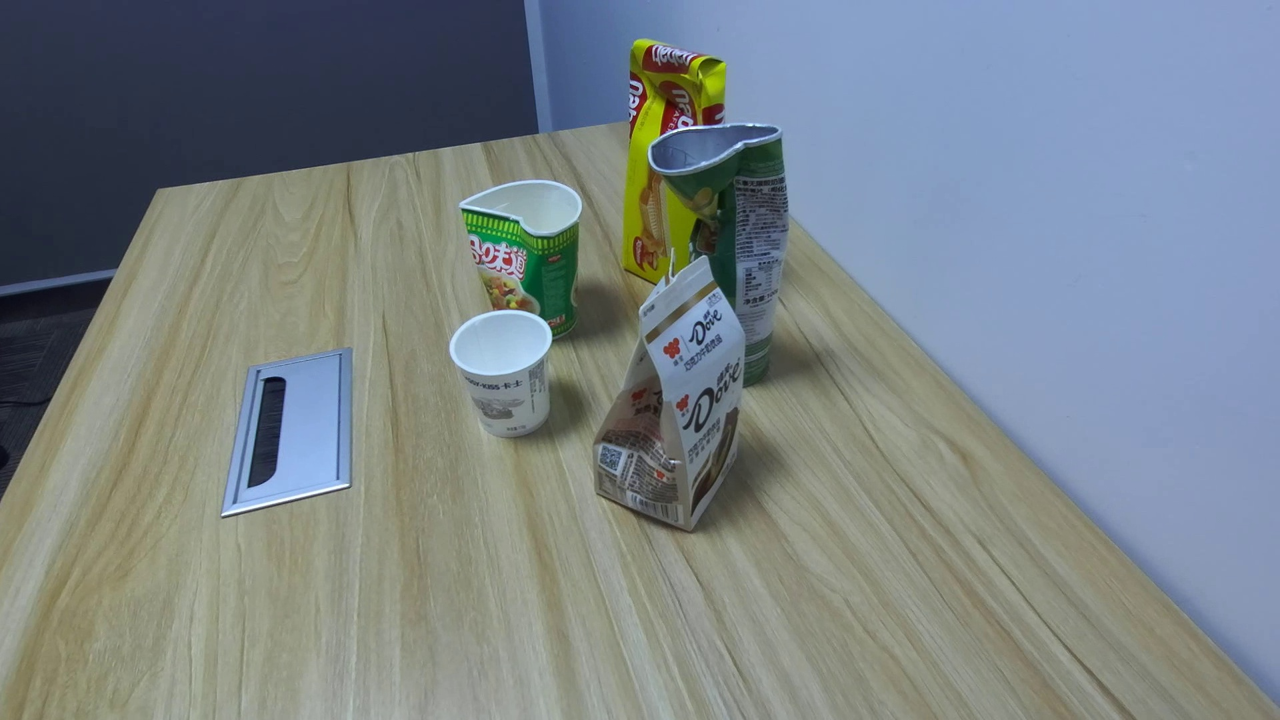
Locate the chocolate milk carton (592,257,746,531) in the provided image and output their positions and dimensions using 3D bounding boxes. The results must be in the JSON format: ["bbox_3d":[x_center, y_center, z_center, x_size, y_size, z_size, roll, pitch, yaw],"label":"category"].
[{"bbox_3d":[0.015,0.019,0.425,0.073,0.155,0.084,18,44,23],"label":"chocolate milk carton"}]

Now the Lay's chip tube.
[{"bbox_3d":[0.058,-0.069,0.499,0.071,0.200,0.078,-29,45,-16],"label":"Lay's chip tube"}]

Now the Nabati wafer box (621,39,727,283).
[{"bbox_3d":[0.027,-0.155,0.596,0.113,0.205,0.043,29,47,35],"label":"Nabati wafer box"}]

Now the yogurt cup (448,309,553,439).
[{"bbox_3d":[-0.095,0.013,0.507,0.072,0.068,0.072,-1,40,1],"label":"yogurt cup"}]

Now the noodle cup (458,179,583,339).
[{"bbox_3d":[-0.085,-0.078,0.578,0.087,0.110,0.093,-23,43,-20],"label":"noodle cup"}]
